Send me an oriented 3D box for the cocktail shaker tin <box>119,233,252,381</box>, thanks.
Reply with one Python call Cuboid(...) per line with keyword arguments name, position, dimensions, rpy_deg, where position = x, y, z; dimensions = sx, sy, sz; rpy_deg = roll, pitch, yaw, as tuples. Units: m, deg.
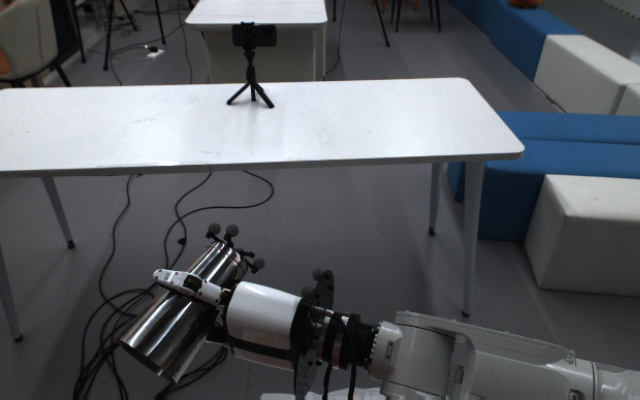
Cuboid(name="cocktail shaker tin", position=(-0.168, 0.134, 0.629), dimensions=(0.093, 0.093, 0.170), rpy_deg=(19, 54, 23))
